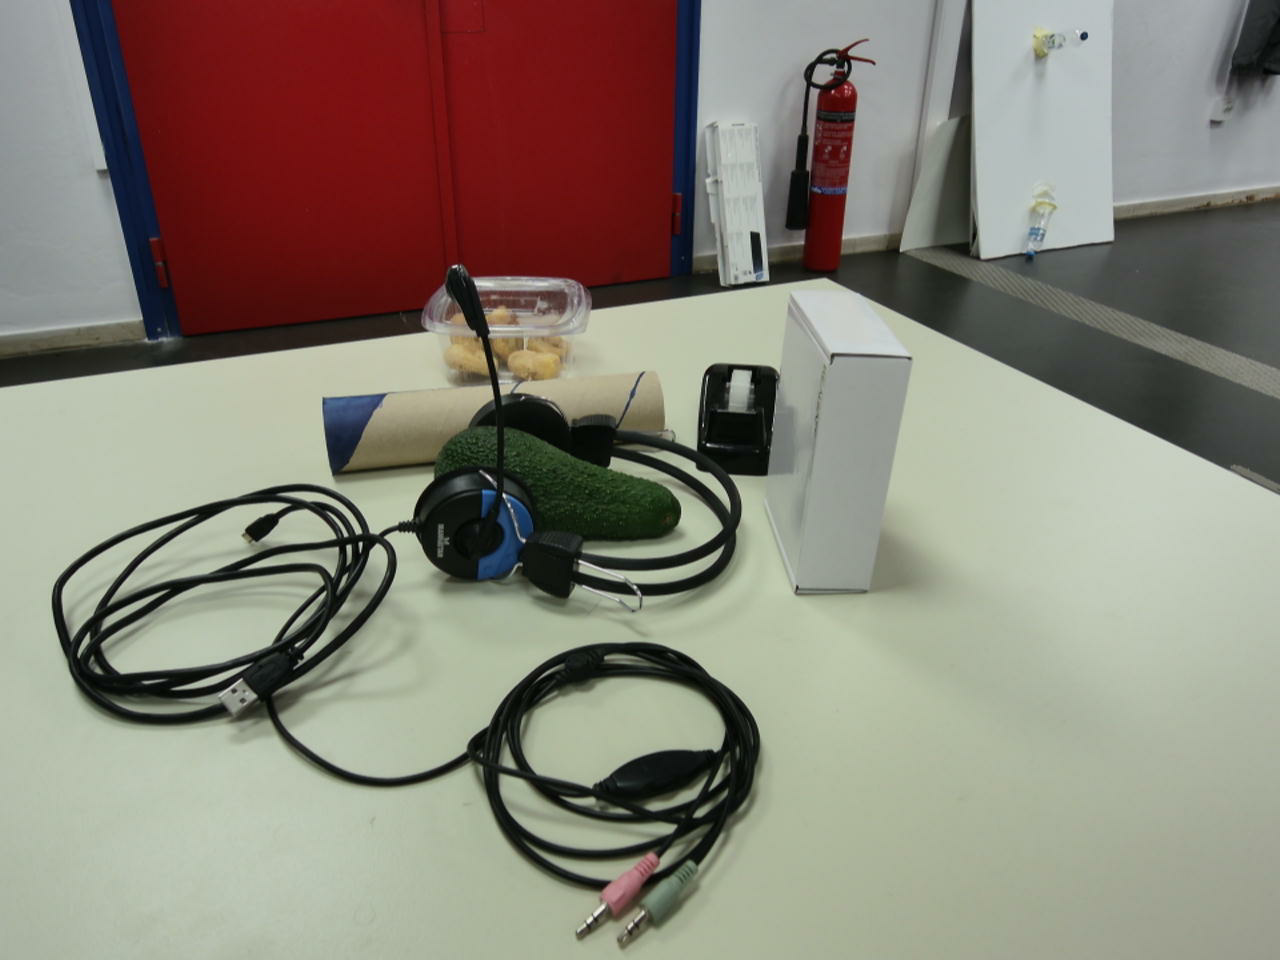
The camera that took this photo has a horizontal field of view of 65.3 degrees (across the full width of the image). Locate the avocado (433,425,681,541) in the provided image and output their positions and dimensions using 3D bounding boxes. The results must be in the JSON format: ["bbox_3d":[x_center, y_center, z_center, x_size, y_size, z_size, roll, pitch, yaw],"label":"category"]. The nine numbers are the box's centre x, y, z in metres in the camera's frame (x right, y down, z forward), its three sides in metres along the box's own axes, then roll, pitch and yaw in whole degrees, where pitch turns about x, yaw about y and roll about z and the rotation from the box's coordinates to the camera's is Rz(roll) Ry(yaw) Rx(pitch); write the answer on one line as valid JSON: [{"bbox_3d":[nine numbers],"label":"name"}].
[{"bbox_3d":[-0.048,-0.001,0.577,0.141,0.067,0.063,-3,27,-9],"label":"avocado"}]
